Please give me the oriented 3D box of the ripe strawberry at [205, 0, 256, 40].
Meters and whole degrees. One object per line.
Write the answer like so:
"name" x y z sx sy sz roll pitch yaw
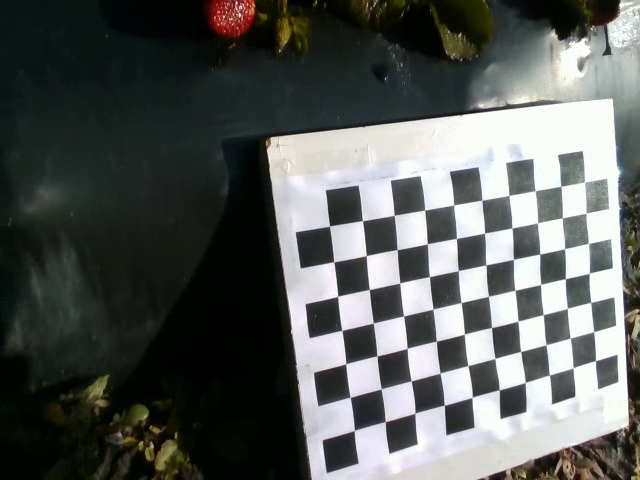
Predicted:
"ripe strawberry" -0.061 -0.154 0.445 0.043 0.053 0.038 38 -52 -19
